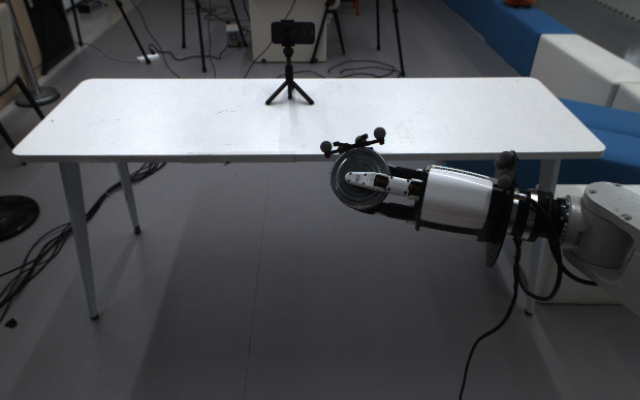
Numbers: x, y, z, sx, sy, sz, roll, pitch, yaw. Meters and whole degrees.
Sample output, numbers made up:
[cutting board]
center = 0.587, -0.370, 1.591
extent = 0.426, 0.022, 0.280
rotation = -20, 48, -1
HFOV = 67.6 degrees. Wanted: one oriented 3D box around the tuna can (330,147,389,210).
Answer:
[tuna can]
center = 0.062, -0.025, 0.684
extent = 0.085, 0.085, 0.034
rotation = 12, -6, 15
